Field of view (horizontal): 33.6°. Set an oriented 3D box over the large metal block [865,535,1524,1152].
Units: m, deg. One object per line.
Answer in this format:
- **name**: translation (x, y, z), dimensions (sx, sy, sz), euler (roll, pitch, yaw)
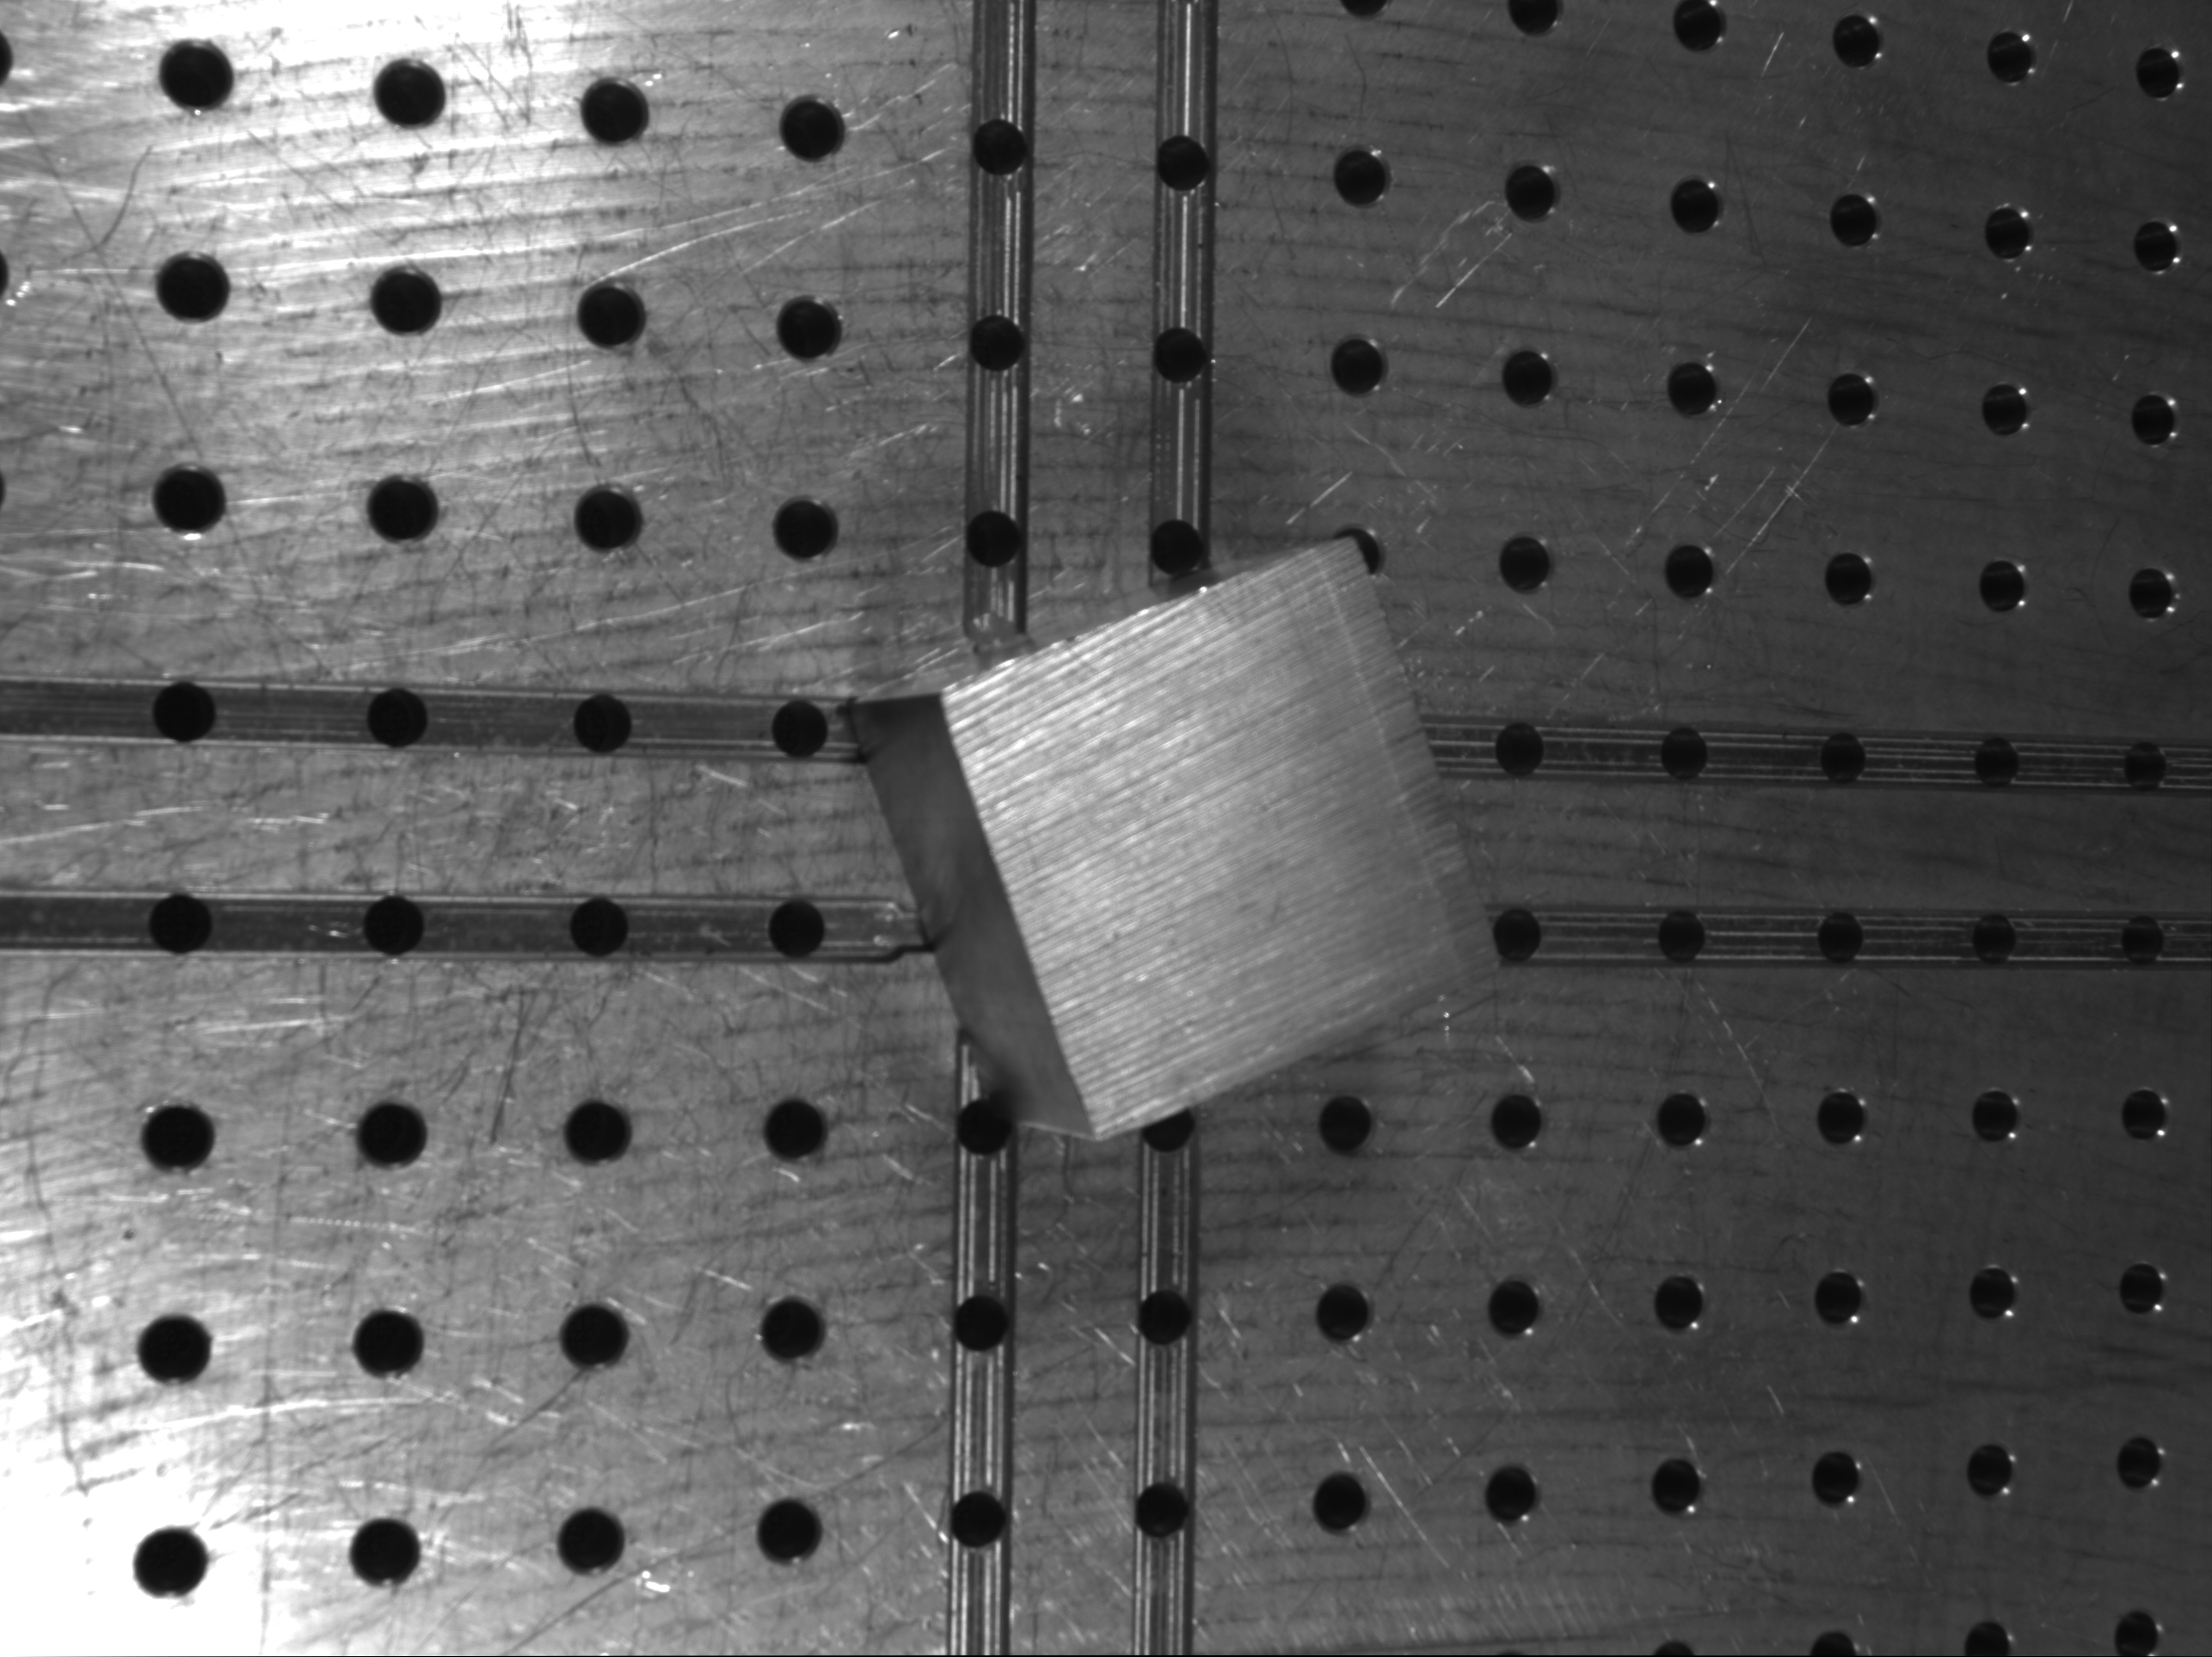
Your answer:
- **large metal block**: translation (0.015, 0.002, 0.635), dimensions (0.080, 0.050, 0.080), euler (-22, 97, -19)
